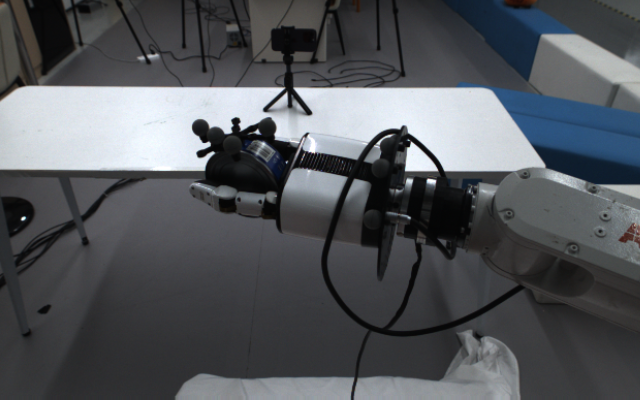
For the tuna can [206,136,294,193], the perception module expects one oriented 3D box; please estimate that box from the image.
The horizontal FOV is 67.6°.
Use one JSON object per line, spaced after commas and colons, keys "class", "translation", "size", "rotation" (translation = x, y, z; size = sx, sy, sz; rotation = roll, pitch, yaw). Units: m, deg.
{"class": "tuna can", "translation": [-0.074, -0.026, 0.518], "size": [0.085, 0.085, 0.034], "rotation": [14, 40, 16]}
